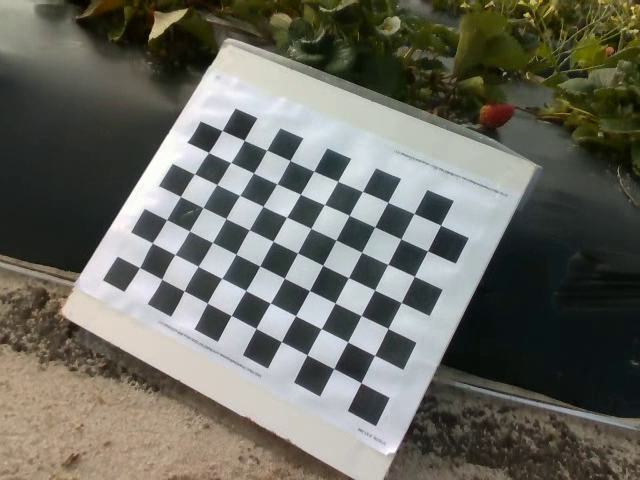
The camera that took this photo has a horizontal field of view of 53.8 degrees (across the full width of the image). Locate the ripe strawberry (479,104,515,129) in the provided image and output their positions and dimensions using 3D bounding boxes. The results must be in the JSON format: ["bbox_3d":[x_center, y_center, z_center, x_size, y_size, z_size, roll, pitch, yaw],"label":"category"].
[{"bbox_3d":[0.114,-0.088,0.417,0.027,0.022,0.021,-4,-8,18],"label":"ripe strawberry"}]
